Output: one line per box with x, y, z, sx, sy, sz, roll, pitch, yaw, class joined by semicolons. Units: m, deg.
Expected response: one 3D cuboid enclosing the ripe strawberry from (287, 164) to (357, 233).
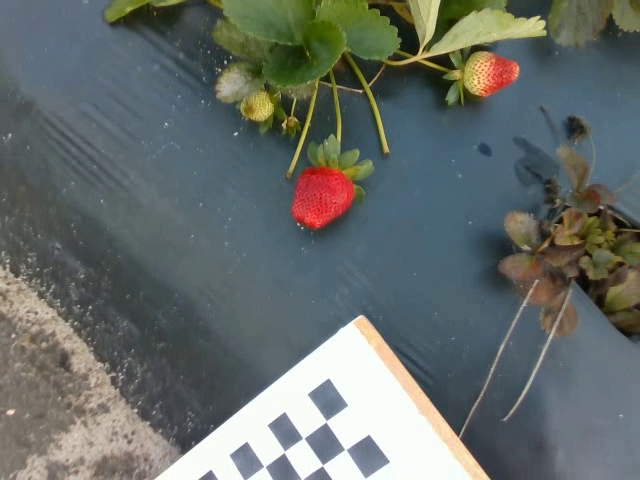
-0.001;-0.027;0.423;0.045;0.042;0.055;4;38;30;ripe strawberry
